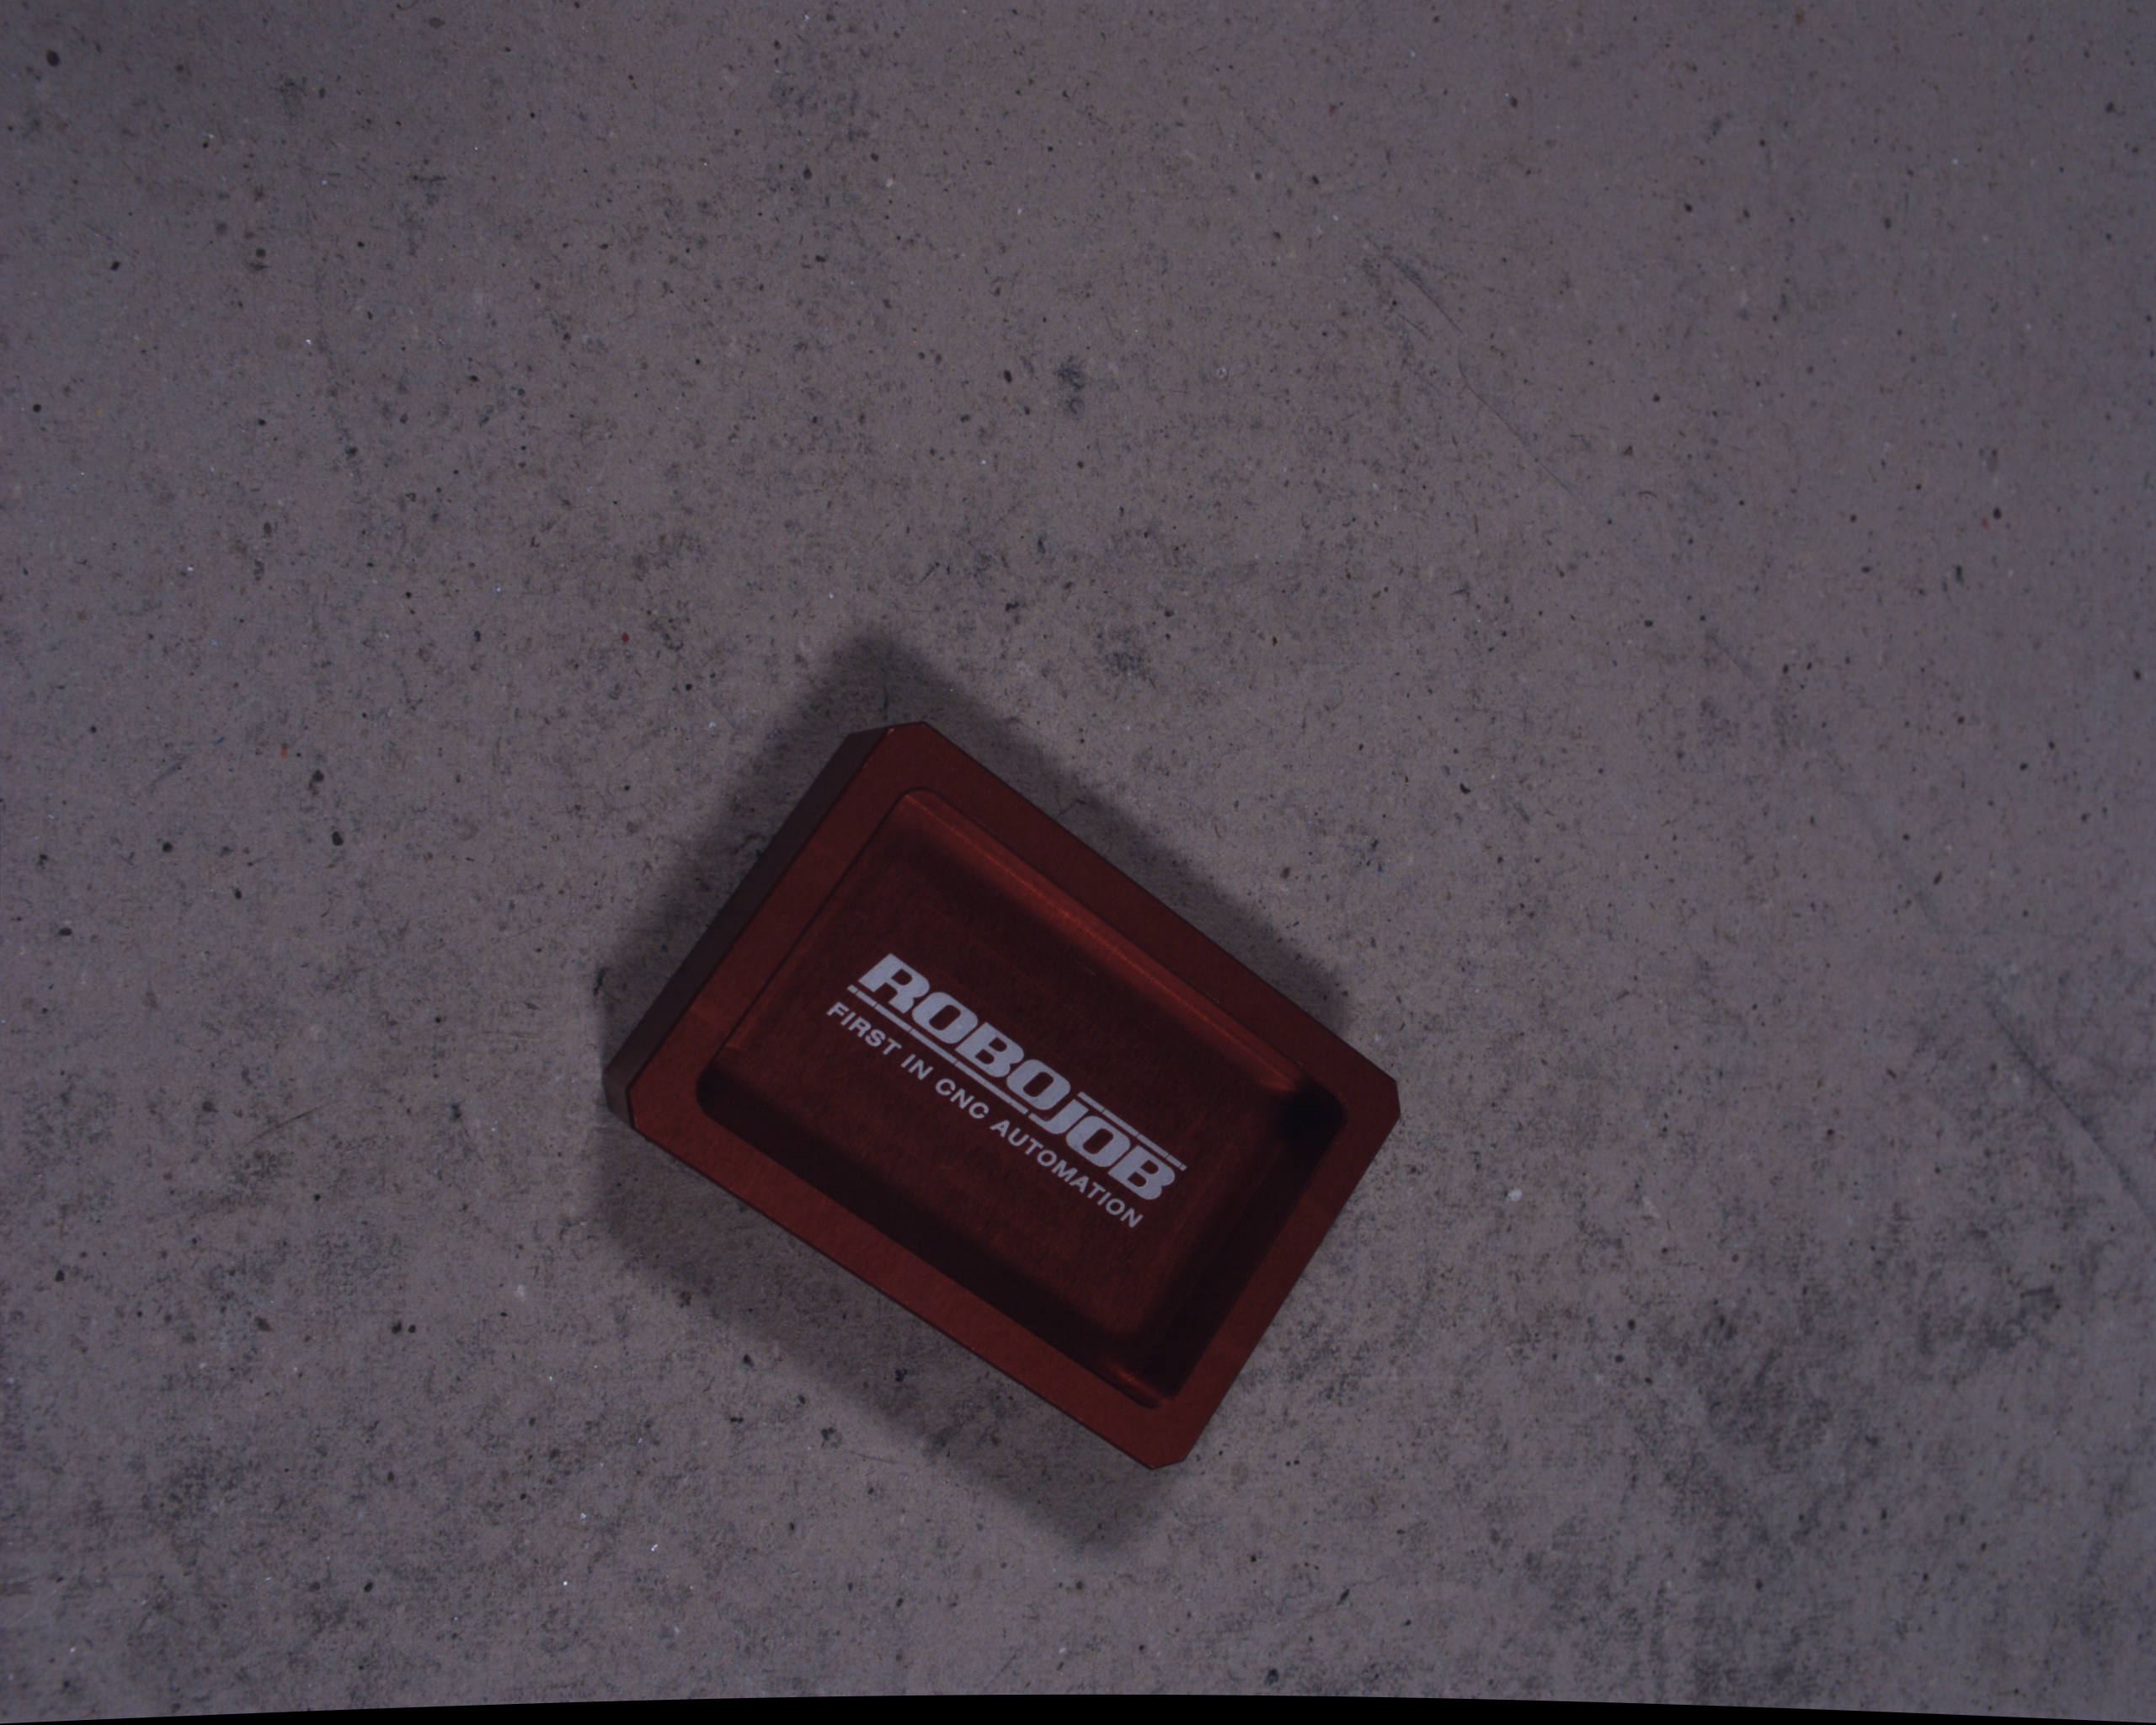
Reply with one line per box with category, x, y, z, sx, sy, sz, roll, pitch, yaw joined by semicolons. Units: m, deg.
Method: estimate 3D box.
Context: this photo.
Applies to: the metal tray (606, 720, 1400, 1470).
metal tray;-0.012;0.045;0.404;0.130;0.030;0.090;38;78;-17
